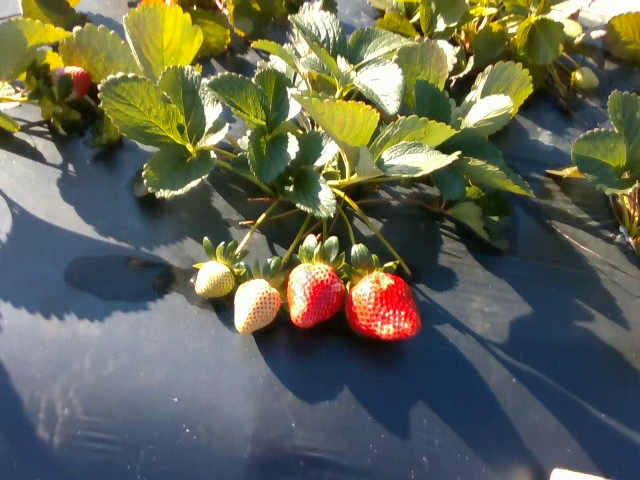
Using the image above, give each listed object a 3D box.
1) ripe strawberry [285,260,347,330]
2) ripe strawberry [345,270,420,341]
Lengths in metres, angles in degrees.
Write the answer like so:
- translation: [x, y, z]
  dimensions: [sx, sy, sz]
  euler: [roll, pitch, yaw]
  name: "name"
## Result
- translation: [-0.006, 0.038, 0.403]
  dimensions: [0.043, 0.051, 0.061]
  euler: [-48, 7, 38]
  name: "ripe strawberry"
- translation: [0.047, 0.048, 0.403]
  dimensions: [0.057, 0.052, 0.067]
  euler: [-37, 38, -8]
  name: "ripe strawberry"
